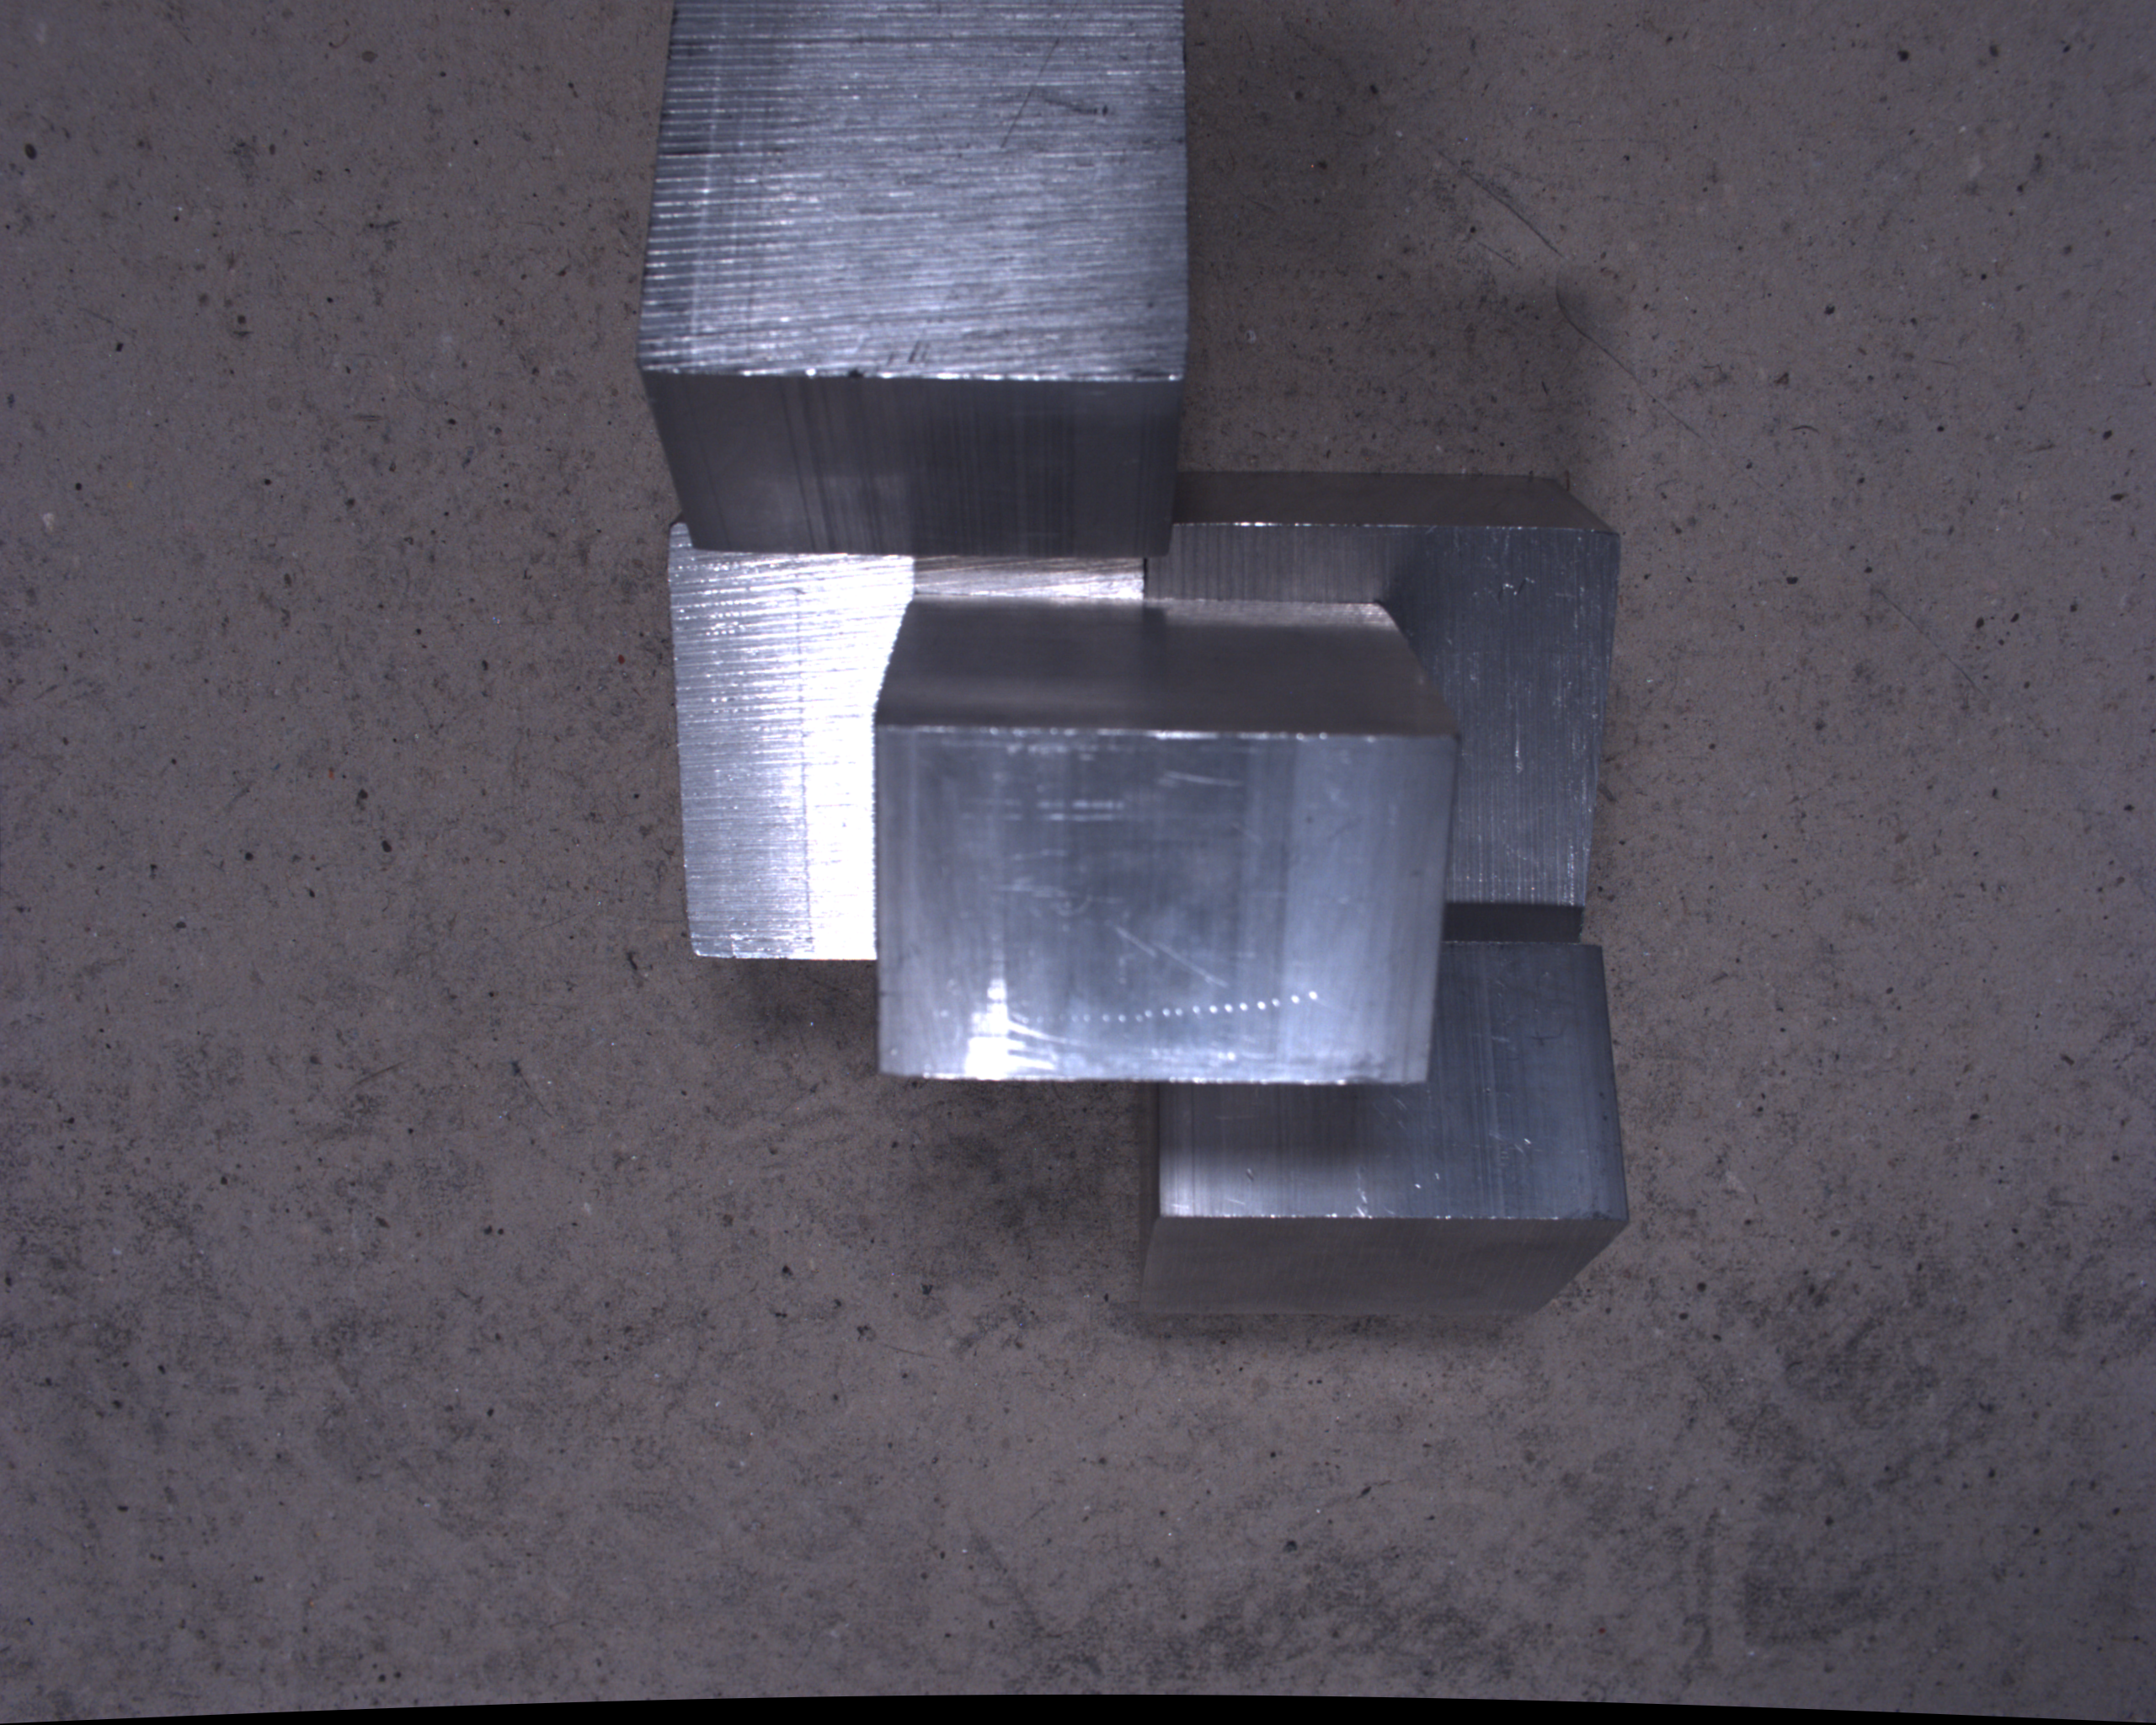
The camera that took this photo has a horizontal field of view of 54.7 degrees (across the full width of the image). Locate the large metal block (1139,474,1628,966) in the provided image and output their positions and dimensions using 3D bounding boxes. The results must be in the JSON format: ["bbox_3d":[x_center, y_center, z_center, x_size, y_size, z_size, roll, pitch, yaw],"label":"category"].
[{"bbox_3d":[0.051,-0.028,0.386,0.081,0.050,0.079,1,110,-1],"label":"large metal block"}]

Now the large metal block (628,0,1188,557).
[{"bbox_3d":[-0.024,-0.098,0.339,0.081,0.050,0.080,1,66,0],"label":"large metal block"}]

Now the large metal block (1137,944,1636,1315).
[{"bbox_3d":[0.053,0.053,0.395,0.081,0.080,0.050,0,66,-1],"label":"large metal block"}]

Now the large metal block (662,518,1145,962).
[{"bbox_3d":[-0.030,-0.028,0.385,0.081,0.050,0.079,1,110,-1],"label":"large metal block"}]

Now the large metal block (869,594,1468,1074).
[{"bbox_3d":[0.011,-0.008,0.326,0.081,0.080,0.050,1,110,-1],"label":"large metal block"}]
